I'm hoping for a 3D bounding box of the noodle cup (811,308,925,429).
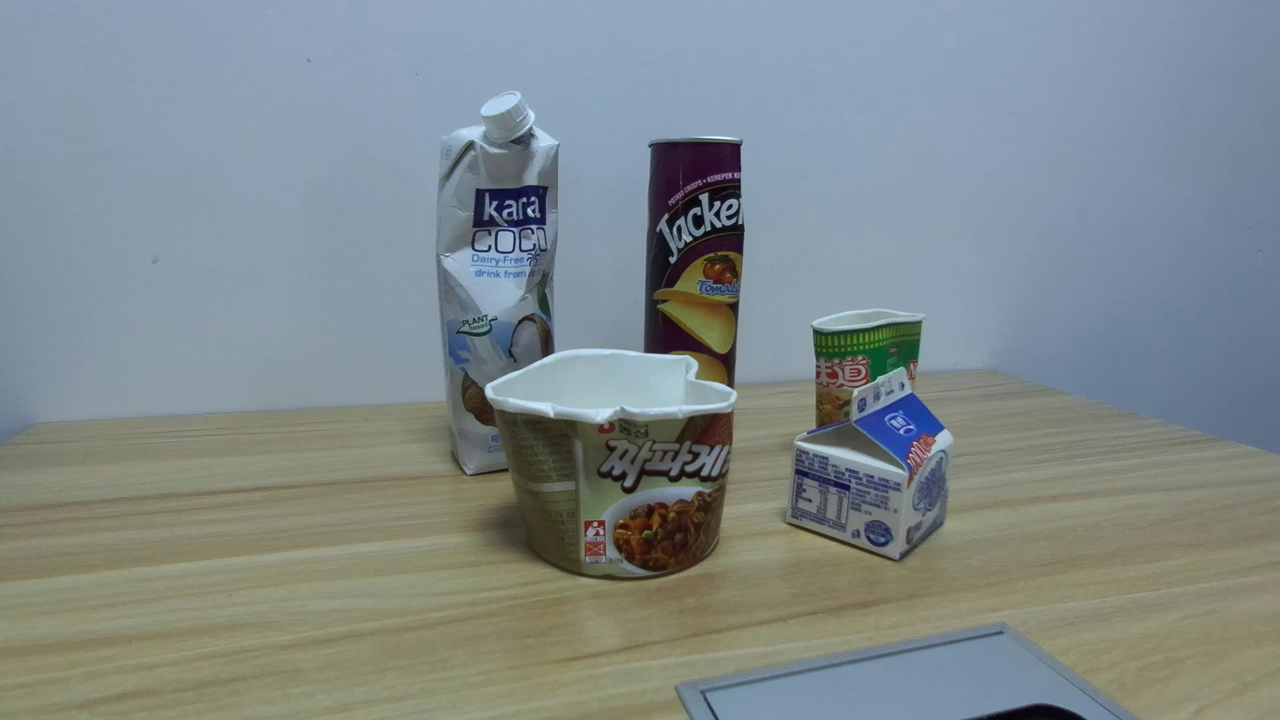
[{"bbox_3d":[0.168,0.030,0.533,0.115,0.111,0.070,6,-2,-23],"label":"noodle cup"}]

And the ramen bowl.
[{"bbox_3d":[-0.018,0.053,0.396,0.134,0.097,0.113,-1,14,-14],"label":"ramen bowl"}]

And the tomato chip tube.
[{"bbox_3d":[0.042,-0.051,0.562,0.076,0.235,0.077,1,11,4],"label":"tomato chip tube"}]

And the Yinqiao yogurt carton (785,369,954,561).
[{"bbox_3d":[0.138,0.054,0.418,0.073,0.092,0.076,12,17,40],"label":"Yinqiao yogurt carton"}]

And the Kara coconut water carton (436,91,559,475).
[{"bbox_3d":[-0.100,-0.053,0.501,0.083,0.255,0.078,-1,16,-12],"label":"Kara coconut water carton"}]
